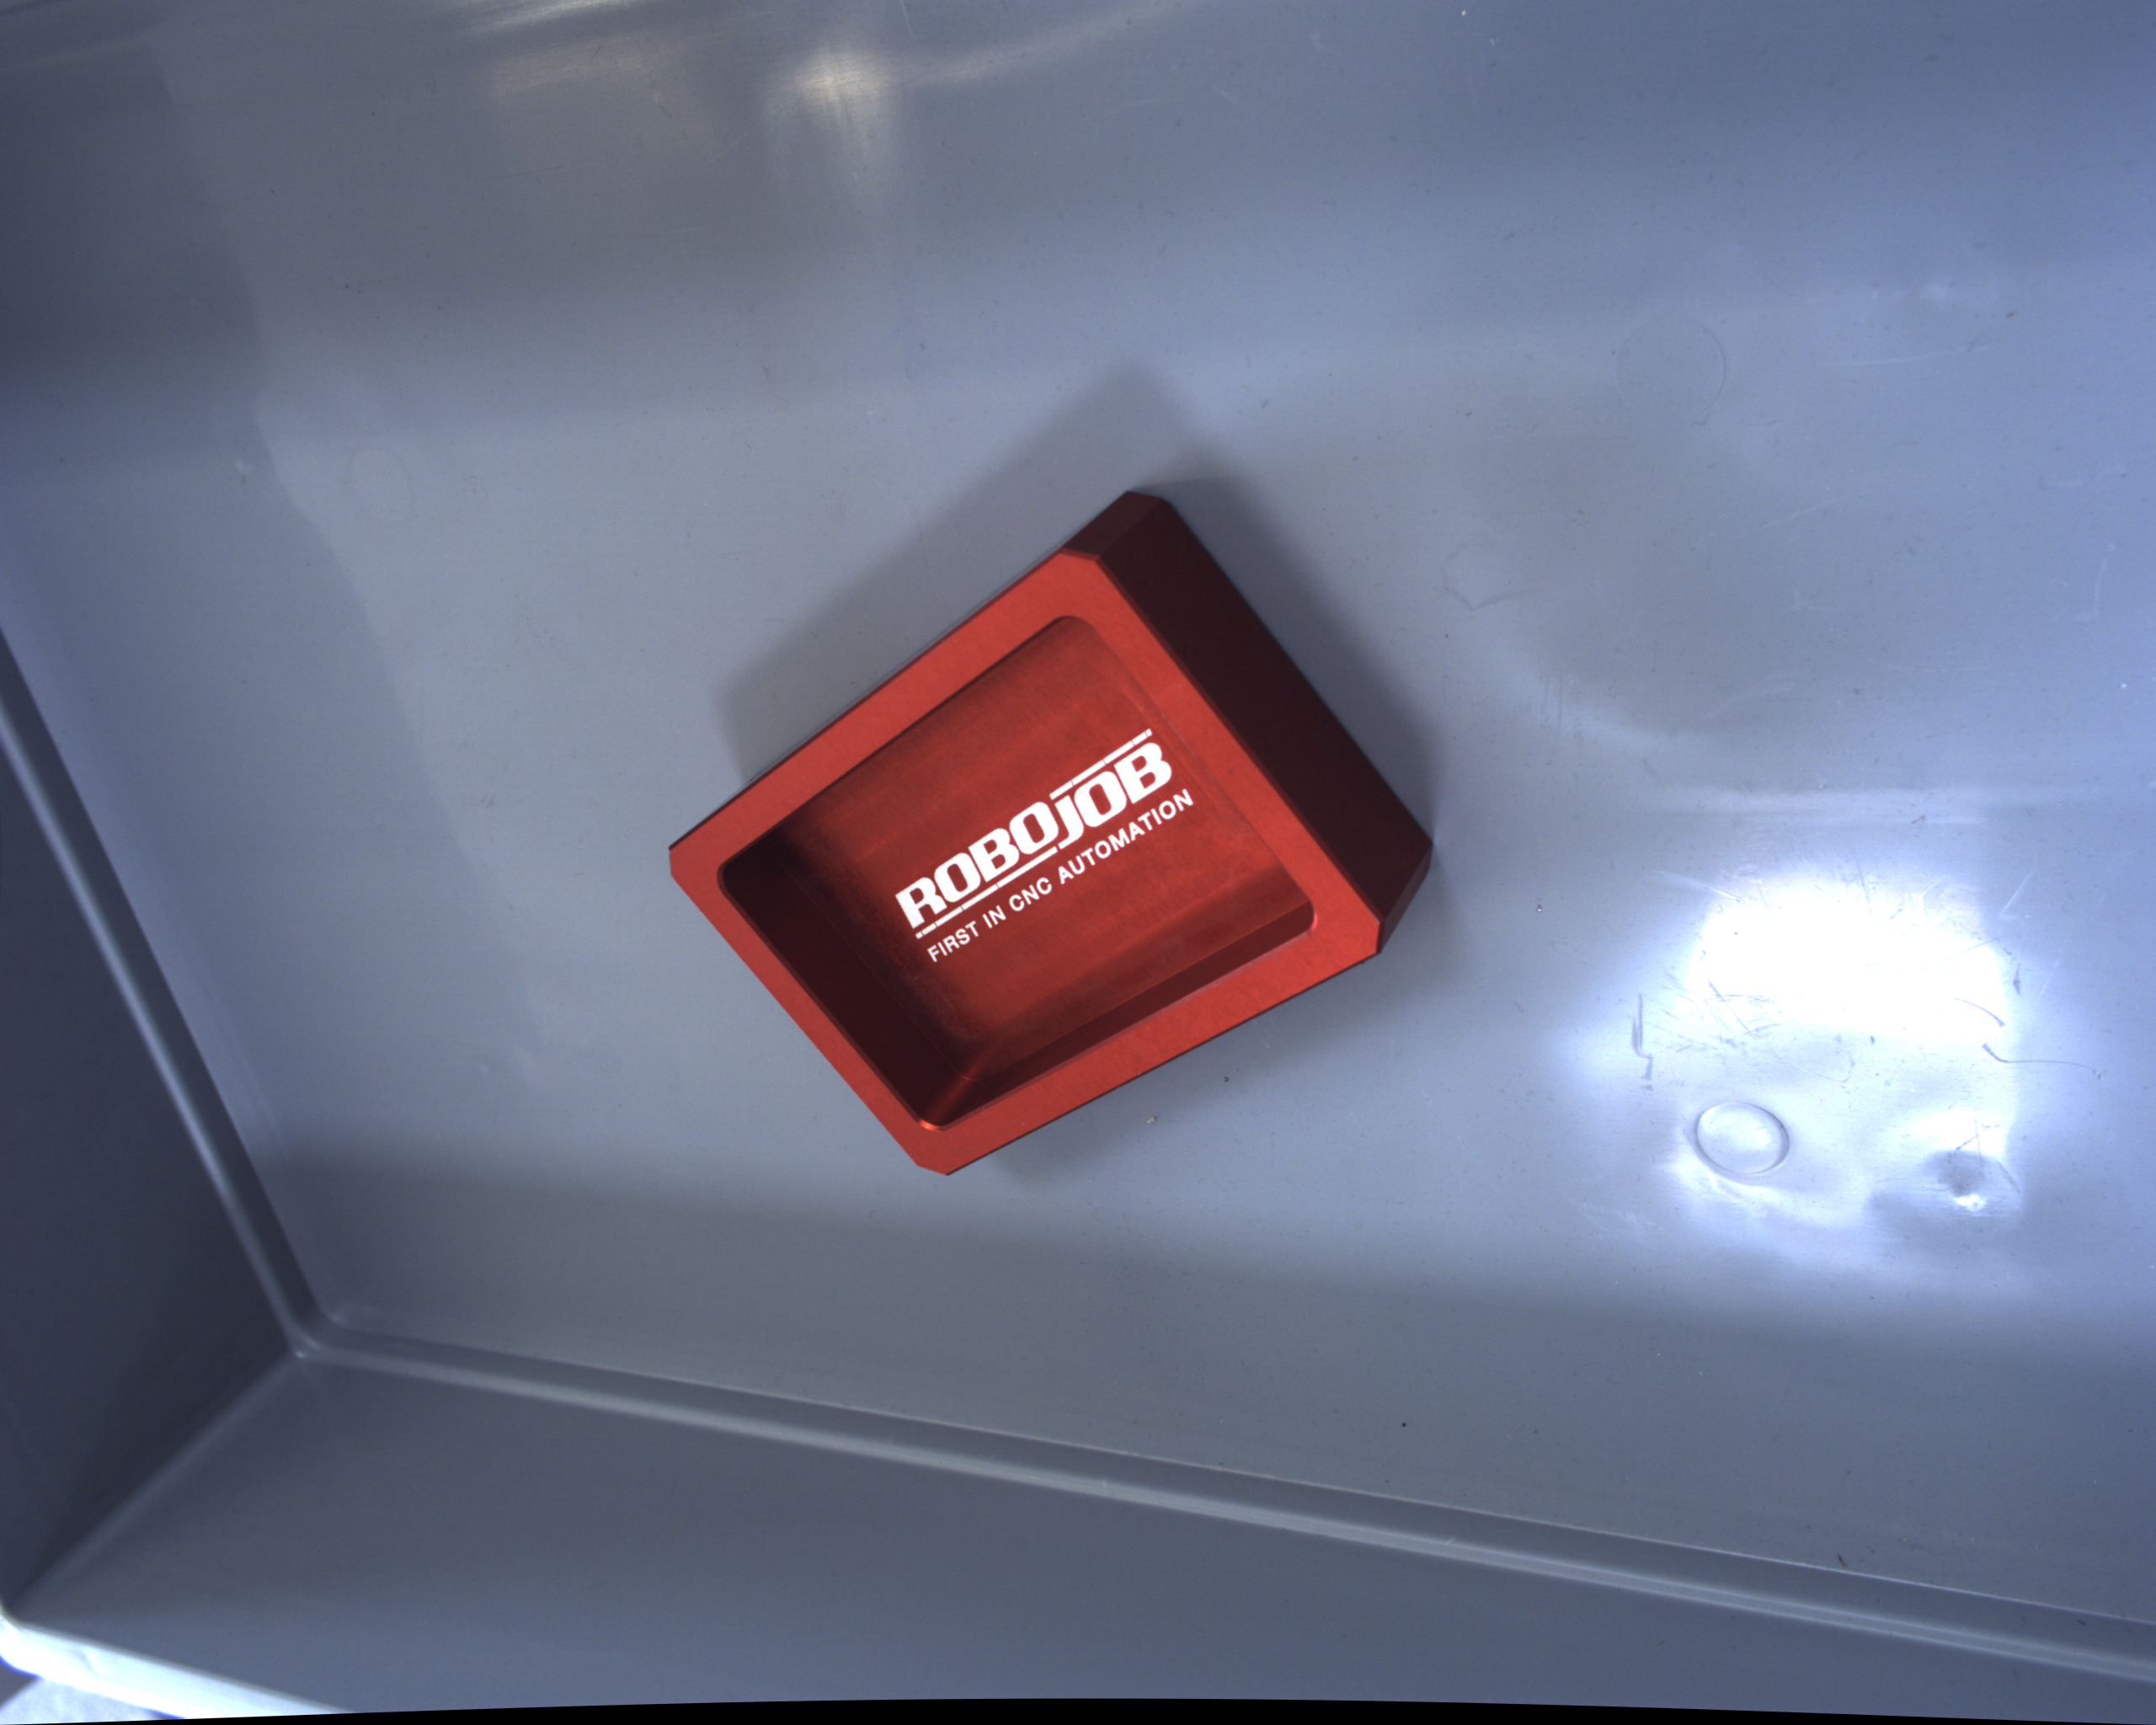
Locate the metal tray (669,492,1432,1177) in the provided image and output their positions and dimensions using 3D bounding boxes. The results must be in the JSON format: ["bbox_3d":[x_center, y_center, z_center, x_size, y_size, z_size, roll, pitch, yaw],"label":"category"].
[{"bbox_3d":[-0.009,0.000,0.407,0.130,0.030,0.090,-32,101,38],"label":"metal tray"}]
